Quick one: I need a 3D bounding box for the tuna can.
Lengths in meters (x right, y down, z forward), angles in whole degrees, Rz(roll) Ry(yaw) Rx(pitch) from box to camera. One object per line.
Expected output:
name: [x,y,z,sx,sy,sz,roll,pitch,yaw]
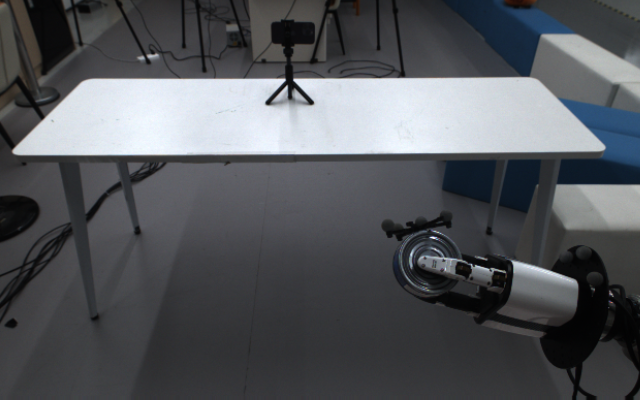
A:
tuna can: [0.143,0.080,0.628,0.085,0.034,0.085,0,73,-1]
